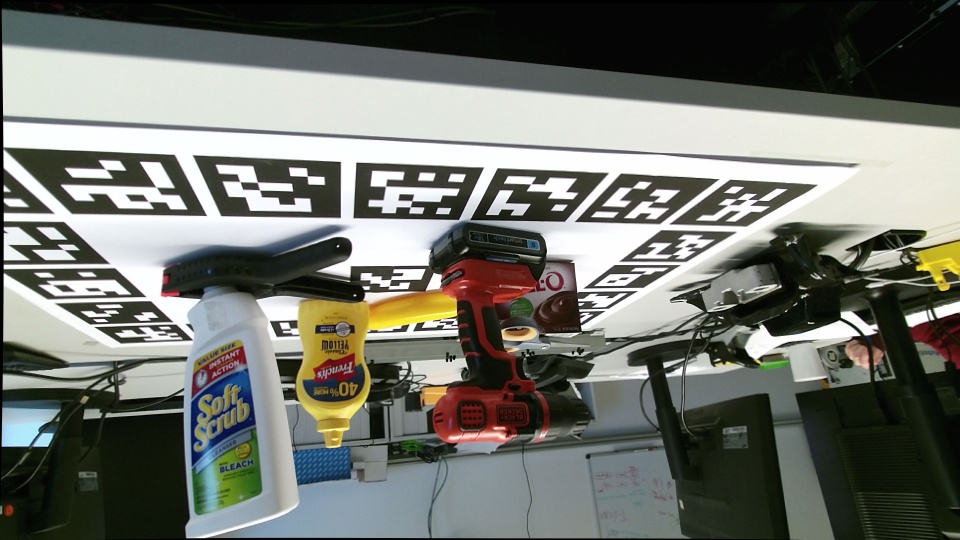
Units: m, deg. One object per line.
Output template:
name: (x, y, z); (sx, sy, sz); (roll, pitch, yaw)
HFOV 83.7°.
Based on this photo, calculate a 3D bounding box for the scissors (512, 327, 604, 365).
scissors: (0.088, 0.102, 0.659); (0.204, 0.016, 0.088); (16, 146, -35)

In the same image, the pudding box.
pudding box: (0.074, 0.040, 0.673); (0.114, 0.089, 0.038); (2, 164, -19)

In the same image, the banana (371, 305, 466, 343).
banana: (-0.095, 0.080, 0.781); (0.198, 0.038, 0.074); (-16, 174, 21)

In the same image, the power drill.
power drill: (0.045, 0.080, 0.555); (0.185, 0.186, 0.057); (2, 164, -28)

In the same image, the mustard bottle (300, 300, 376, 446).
mustard bottle: (-0.189, 0.135, 0.717); (0.096, 0.190, 0.058); (6, 156, -28)

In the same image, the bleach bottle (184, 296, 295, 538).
bleach bottle: (-0.255, 0.126, 0.546); (0.103, 0.249, 0.068); (-14, 163, -1)

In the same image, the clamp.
clamp: (-0.229, 0.024, 0.579); (0.204, 0.036, 0.165); (-1, 156, -8)
